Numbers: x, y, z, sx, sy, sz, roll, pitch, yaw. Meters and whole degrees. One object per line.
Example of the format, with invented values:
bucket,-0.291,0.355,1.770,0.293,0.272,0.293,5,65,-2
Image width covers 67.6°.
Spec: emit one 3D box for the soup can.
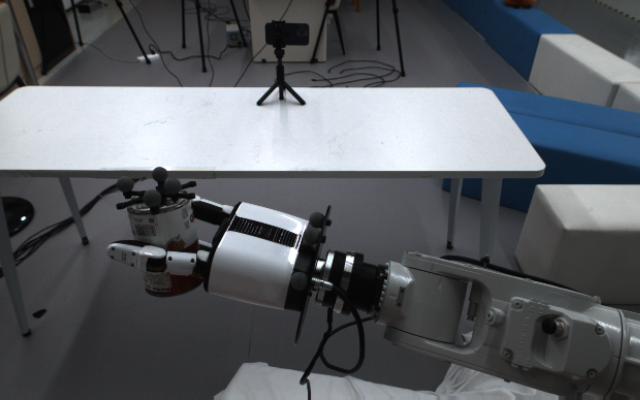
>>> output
soup can,-0.167,0.048,0.536,0.067,0.101,0.067,-4,21,2
